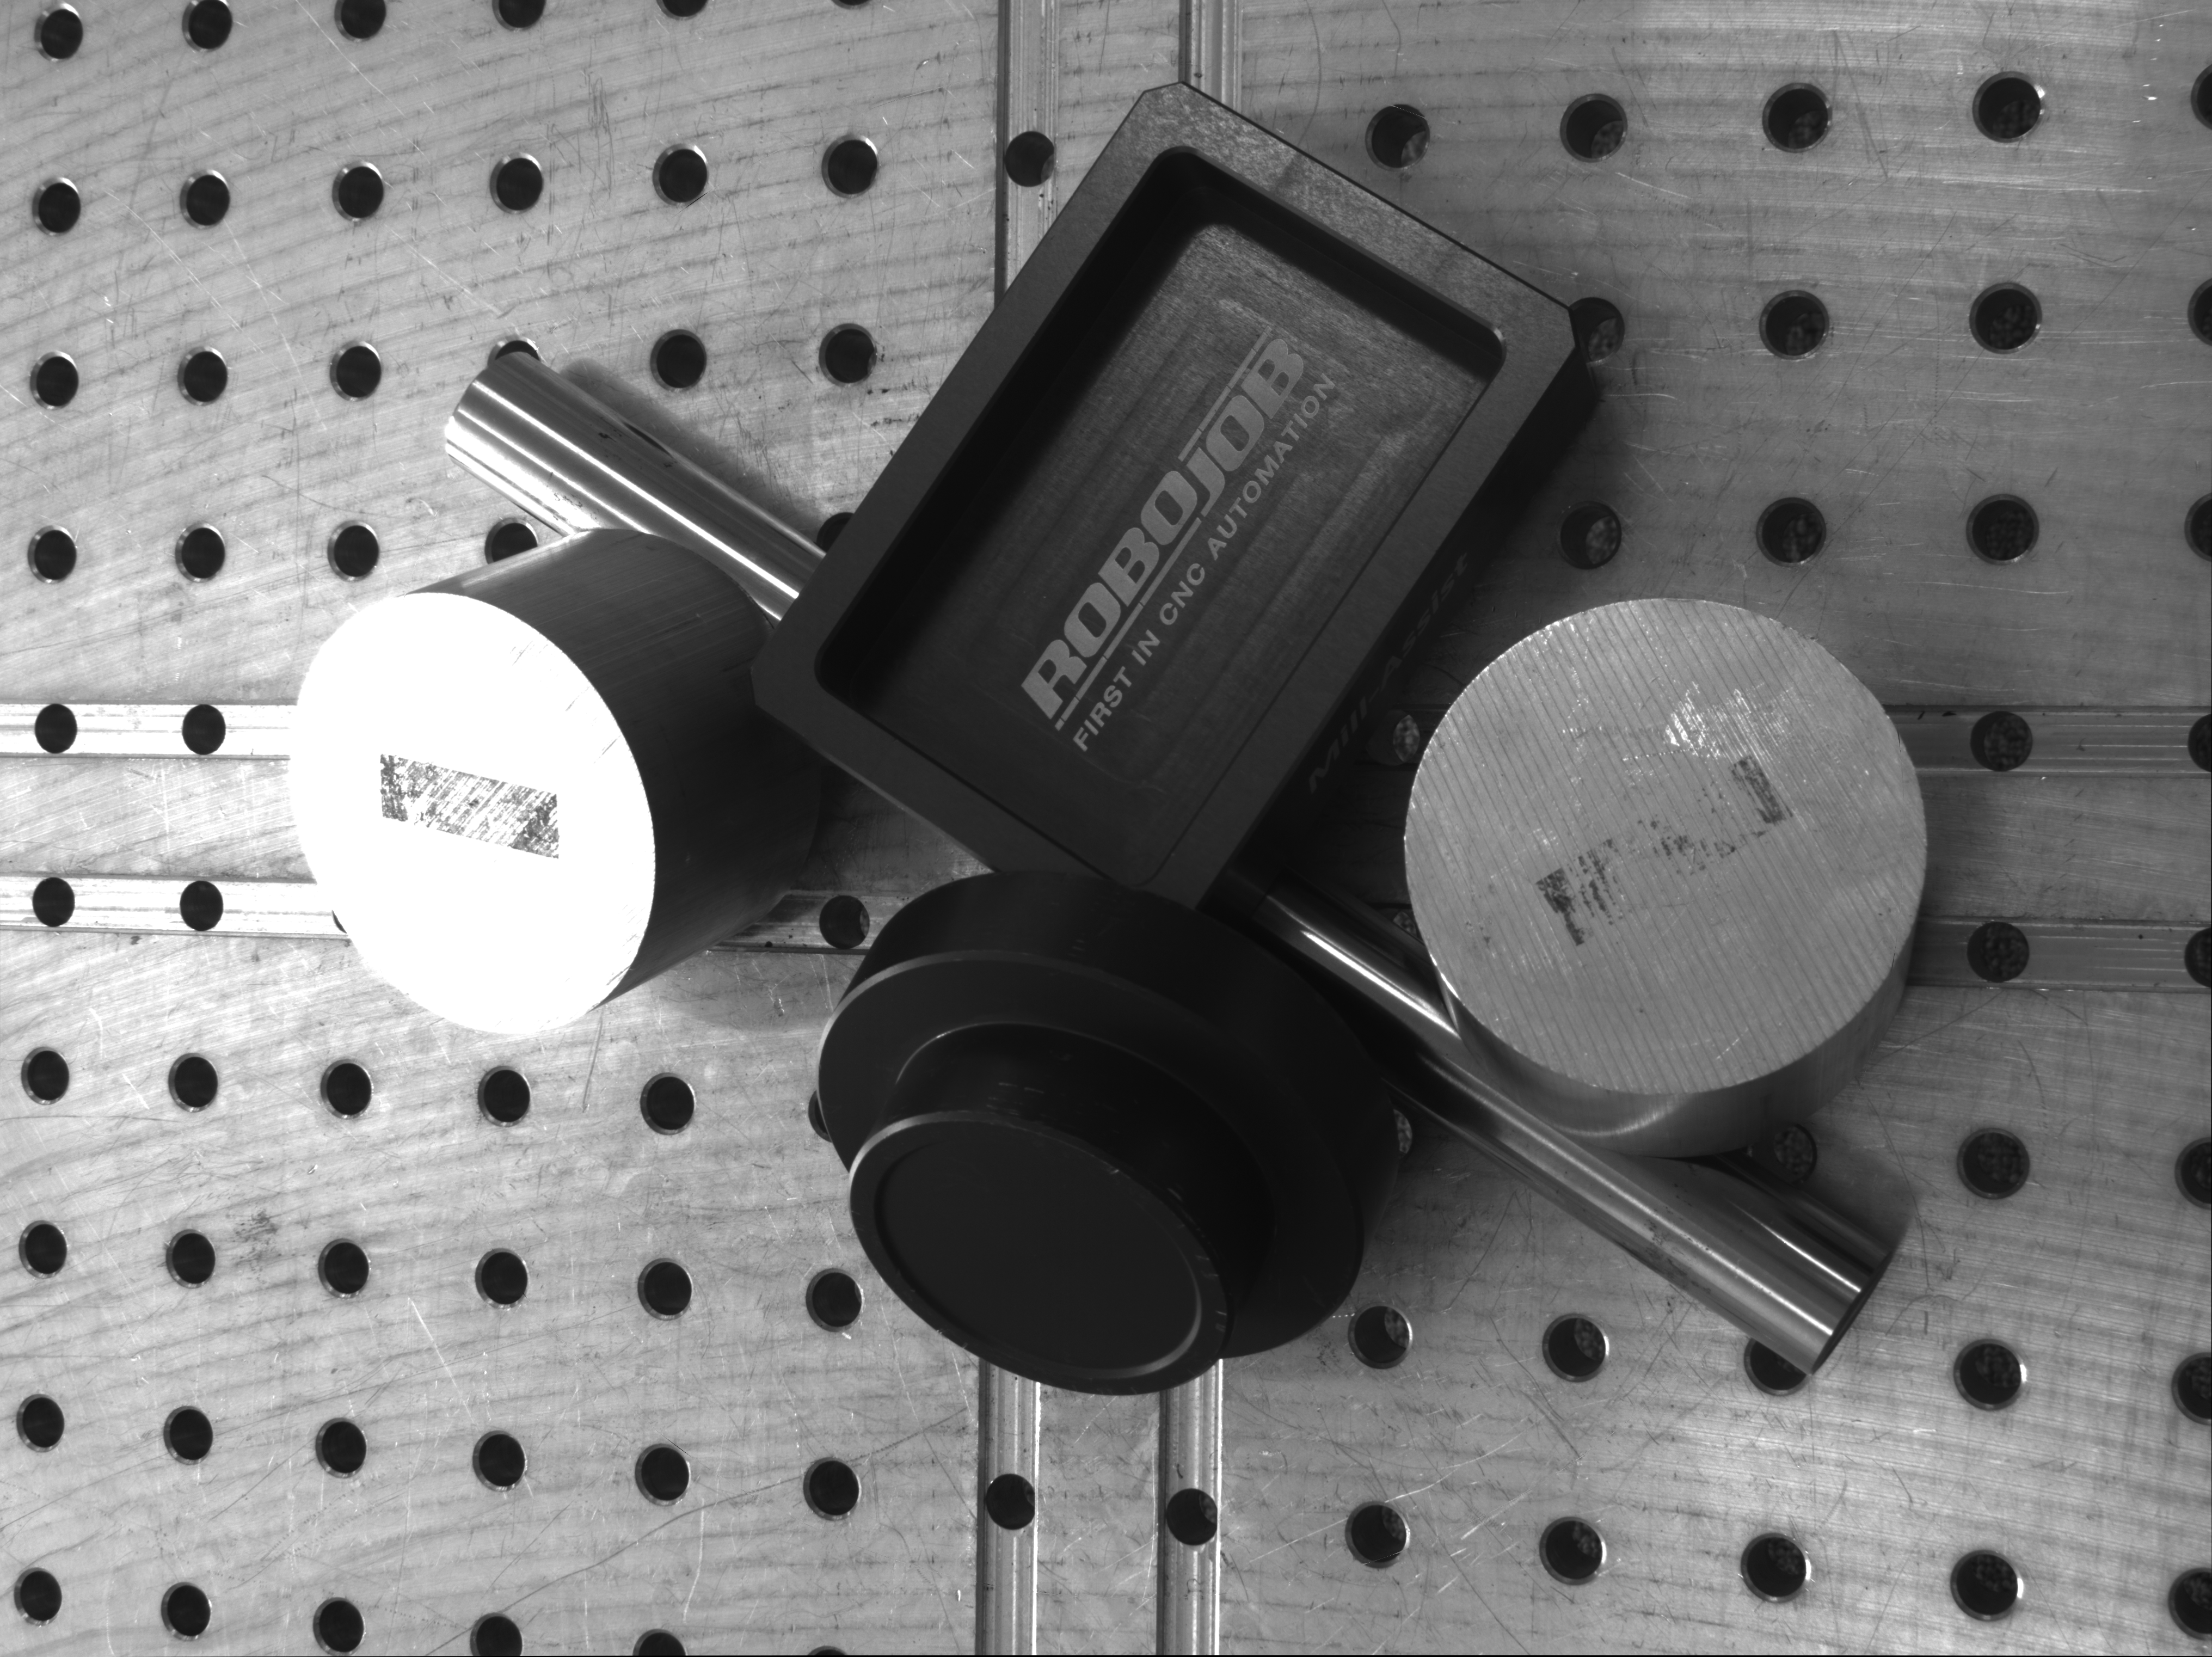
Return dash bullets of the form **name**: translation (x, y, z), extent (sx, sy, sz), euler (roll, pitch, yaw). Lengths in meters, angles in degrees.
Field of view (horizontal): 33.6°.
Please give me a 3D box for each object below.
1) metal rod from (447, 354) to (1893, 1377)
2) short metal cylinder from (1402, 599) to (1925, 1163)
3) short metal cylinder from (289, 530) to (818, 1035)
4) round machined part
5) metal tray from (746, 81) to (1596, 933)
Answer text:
- **metal rod**: translation (0.004, 0.001, 0.647), extent (0.299, 0.025, 0.025), euler (34, 101, 17)
- **short metal cylinder**: translation (0.090, 0.009, 0.590), extent (0.080, 0.050, 0.080), euler (-2, 73, 8)
- **short metal cylinder**: translation (-0.099, -0.009, 0.659), extent (0.080, 0.050, 0.080), euler (10, 111, 27)
- **round machined part**: translation (-0.004, 0.057, 0.612), extent (0.098, 0.042, 0.098), euler (15, 137, 14)
- **metal tray**: translation (0.011, -0.050, 0.626), extent (0.090, 0.030, 0.130), euler (34, 87, 17)
